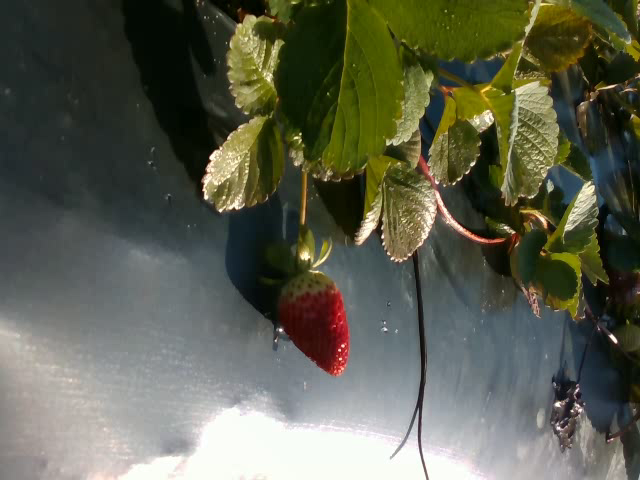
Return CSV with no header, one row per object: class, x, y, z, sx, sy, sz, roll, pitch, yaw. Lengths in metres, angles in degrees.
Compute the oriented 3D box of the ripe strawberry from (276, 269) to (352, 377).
ripe strawberry,-0.001,0.030,0.200,0.028,0.041,0.031,-7,-30,-33
